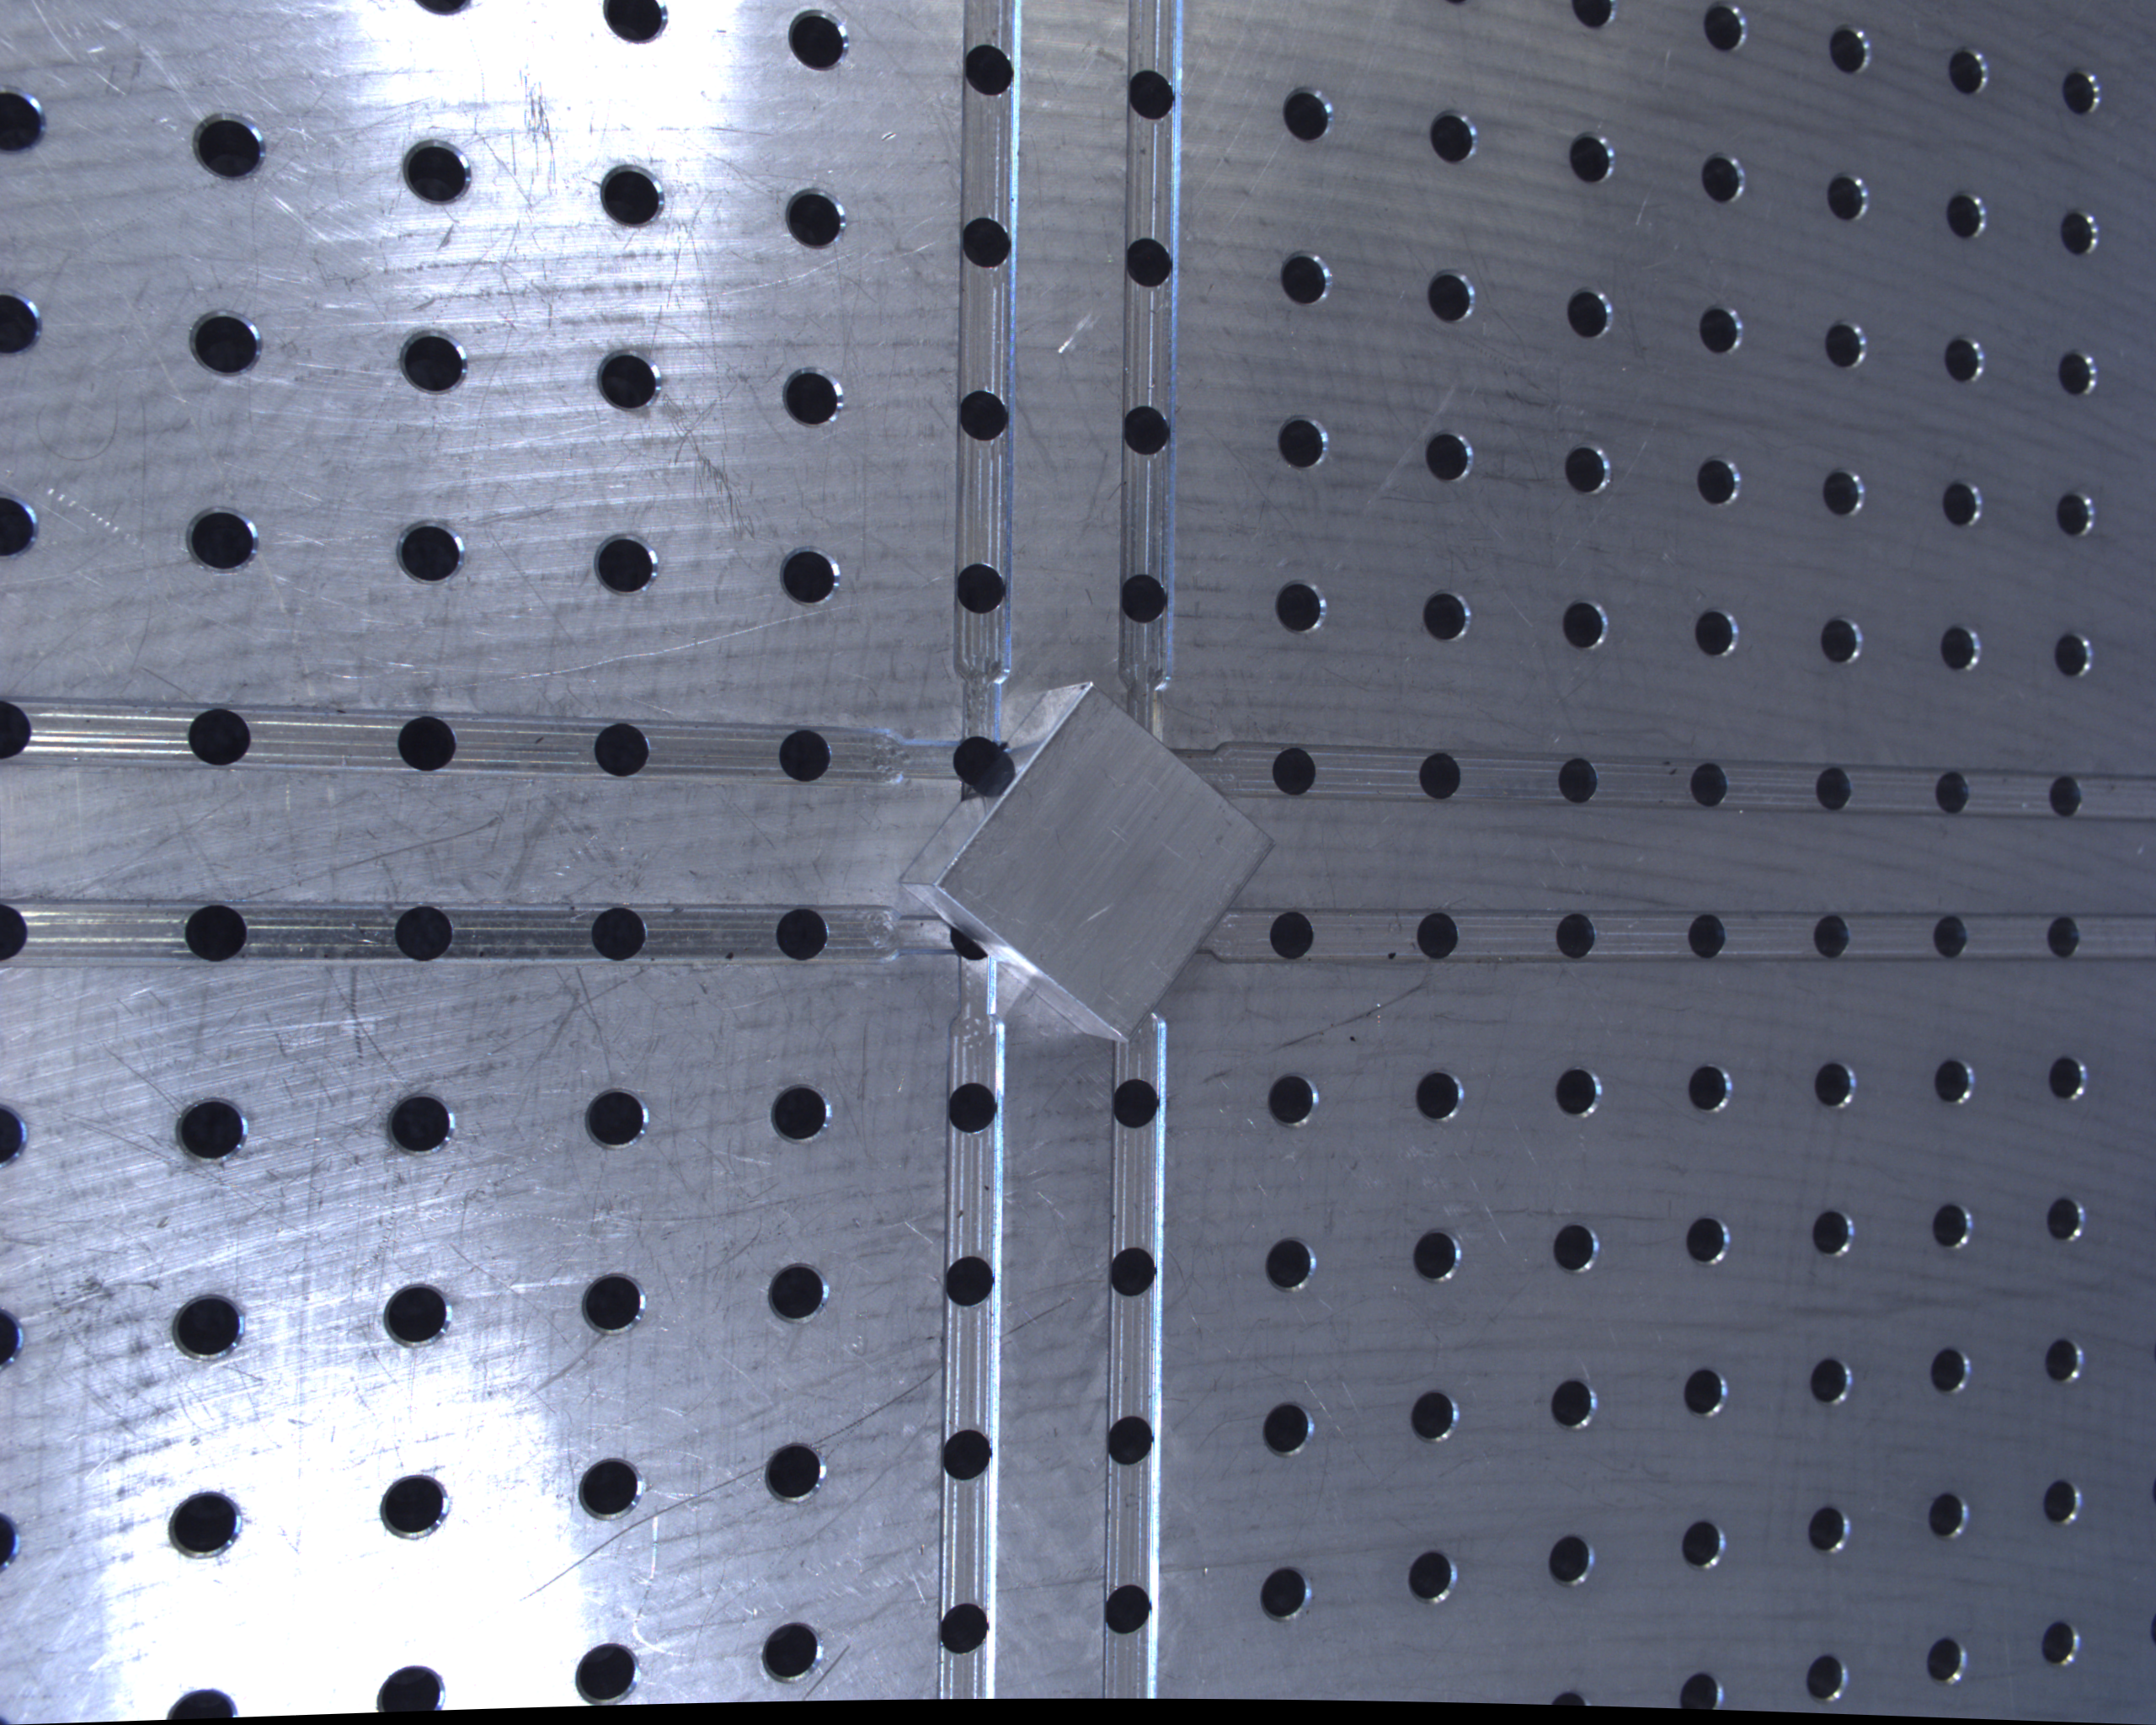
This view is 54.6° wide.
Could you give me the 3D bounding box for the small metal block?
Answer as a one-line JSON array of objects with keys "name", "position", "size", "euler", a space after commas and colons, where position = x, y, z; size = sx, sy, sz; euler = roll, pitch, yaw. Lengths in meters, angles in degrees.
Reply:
[{"name": "small metal block", "position": [0.001, 0.000, 0.413], "size": [0.050, 0.025, 0.050], "euler": [40, 77, -16]}]
